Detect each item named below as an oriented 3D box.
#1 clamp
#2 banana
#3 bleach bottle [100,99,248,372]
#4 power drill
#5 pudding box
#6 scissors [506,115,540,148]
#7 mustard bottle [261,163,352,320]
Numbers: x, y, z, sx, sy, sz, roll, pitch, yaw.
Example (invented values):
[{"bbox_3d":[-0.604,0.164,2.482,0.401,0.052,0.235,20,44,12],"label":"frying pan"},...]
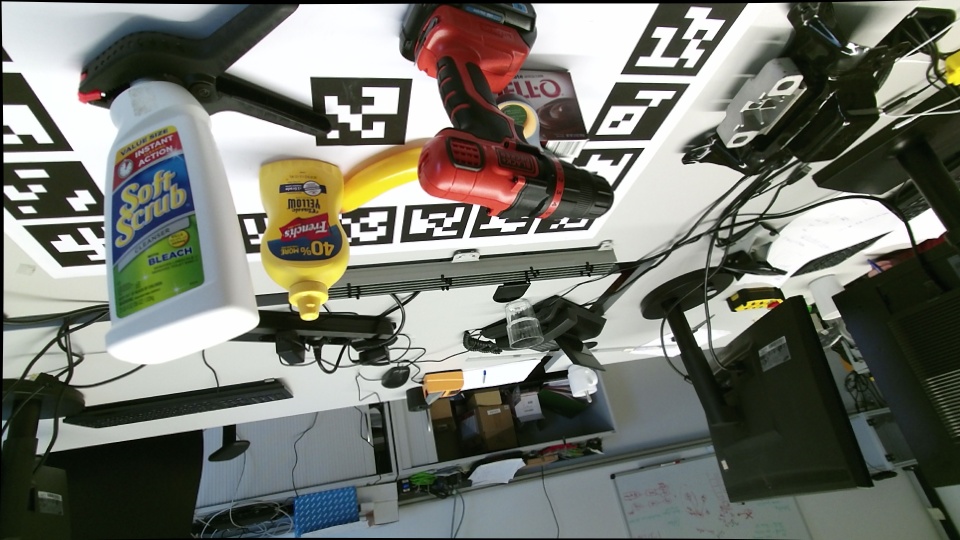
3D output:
[{"bbox_3d":[-0.252,-0.151,0.490,0.203,0.036,0.165,-7,151,-9],"label":"clamp"},{"bbox_3d":[-0.111,-0.091,0.686,0.198,0.038,0.074,-24,168,20],"label":"banana"},{"bbox_3d":[-0.267,-0.050,0.448,0.103,0.249,0.068,-20,157,-2],"label":"bleach bottle"},{"bbox_3d":[0.026,-0.129,0.462,0.185,0.186,0.057,-1,158,-28],"label":"power drill"},{"bbox_3d":[0.051,-0.160,0.583,0.114,0.089,0.039,-3,158,-19],"label":"pudding box"},{"bbox_3d":[0.072,-0.102,0.563,0.204,0.016,0.088,13,139,-34],"label":"scissors"},{"bbox_3d":[-0.199,-0.032,0.617,0.096,0.190,0.058,3,150,-27],"label":"mustard bottle"}]
